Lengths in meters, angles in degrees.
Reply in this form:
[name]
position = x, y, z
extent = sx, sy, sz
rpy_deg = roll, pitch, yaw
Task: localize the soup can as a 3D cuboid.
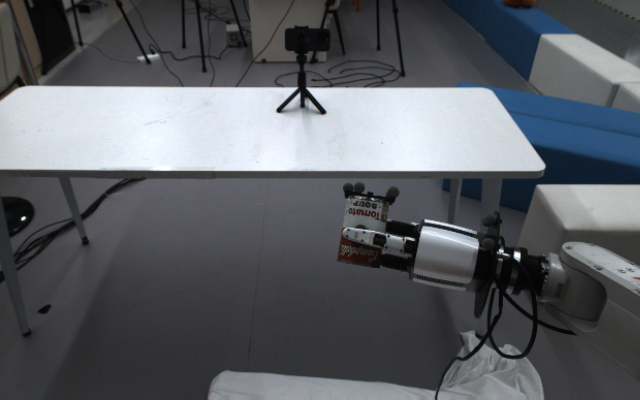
[soup can]
position = 0.068, 0.048, 0.745
extent = 0.067, 0.101, 0.067
rpy_deg = 9, -5, 1
